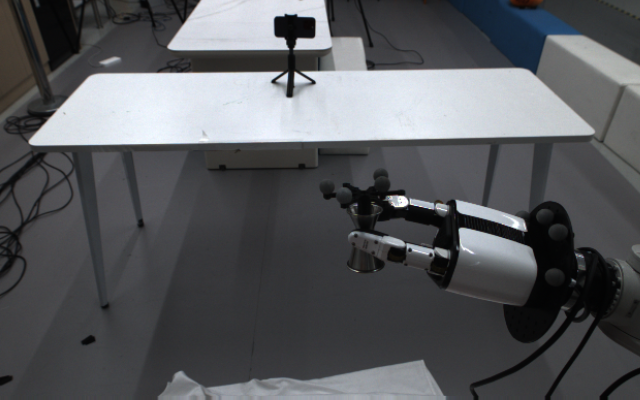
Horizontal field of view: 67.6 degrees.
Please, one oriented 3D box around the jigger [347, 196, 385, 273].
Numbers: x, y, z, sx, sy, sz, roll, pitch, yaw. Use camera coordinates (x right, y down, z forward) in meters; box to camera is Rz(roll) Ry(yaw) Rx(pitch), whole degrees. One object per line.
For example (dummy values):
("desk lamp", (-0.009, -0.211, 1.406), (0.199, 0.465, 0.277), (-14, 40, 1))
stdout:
("jigger", (0.051, 0.042, 0.545), (0.043, 0.071, 0.043), (-2, 19, 1))
